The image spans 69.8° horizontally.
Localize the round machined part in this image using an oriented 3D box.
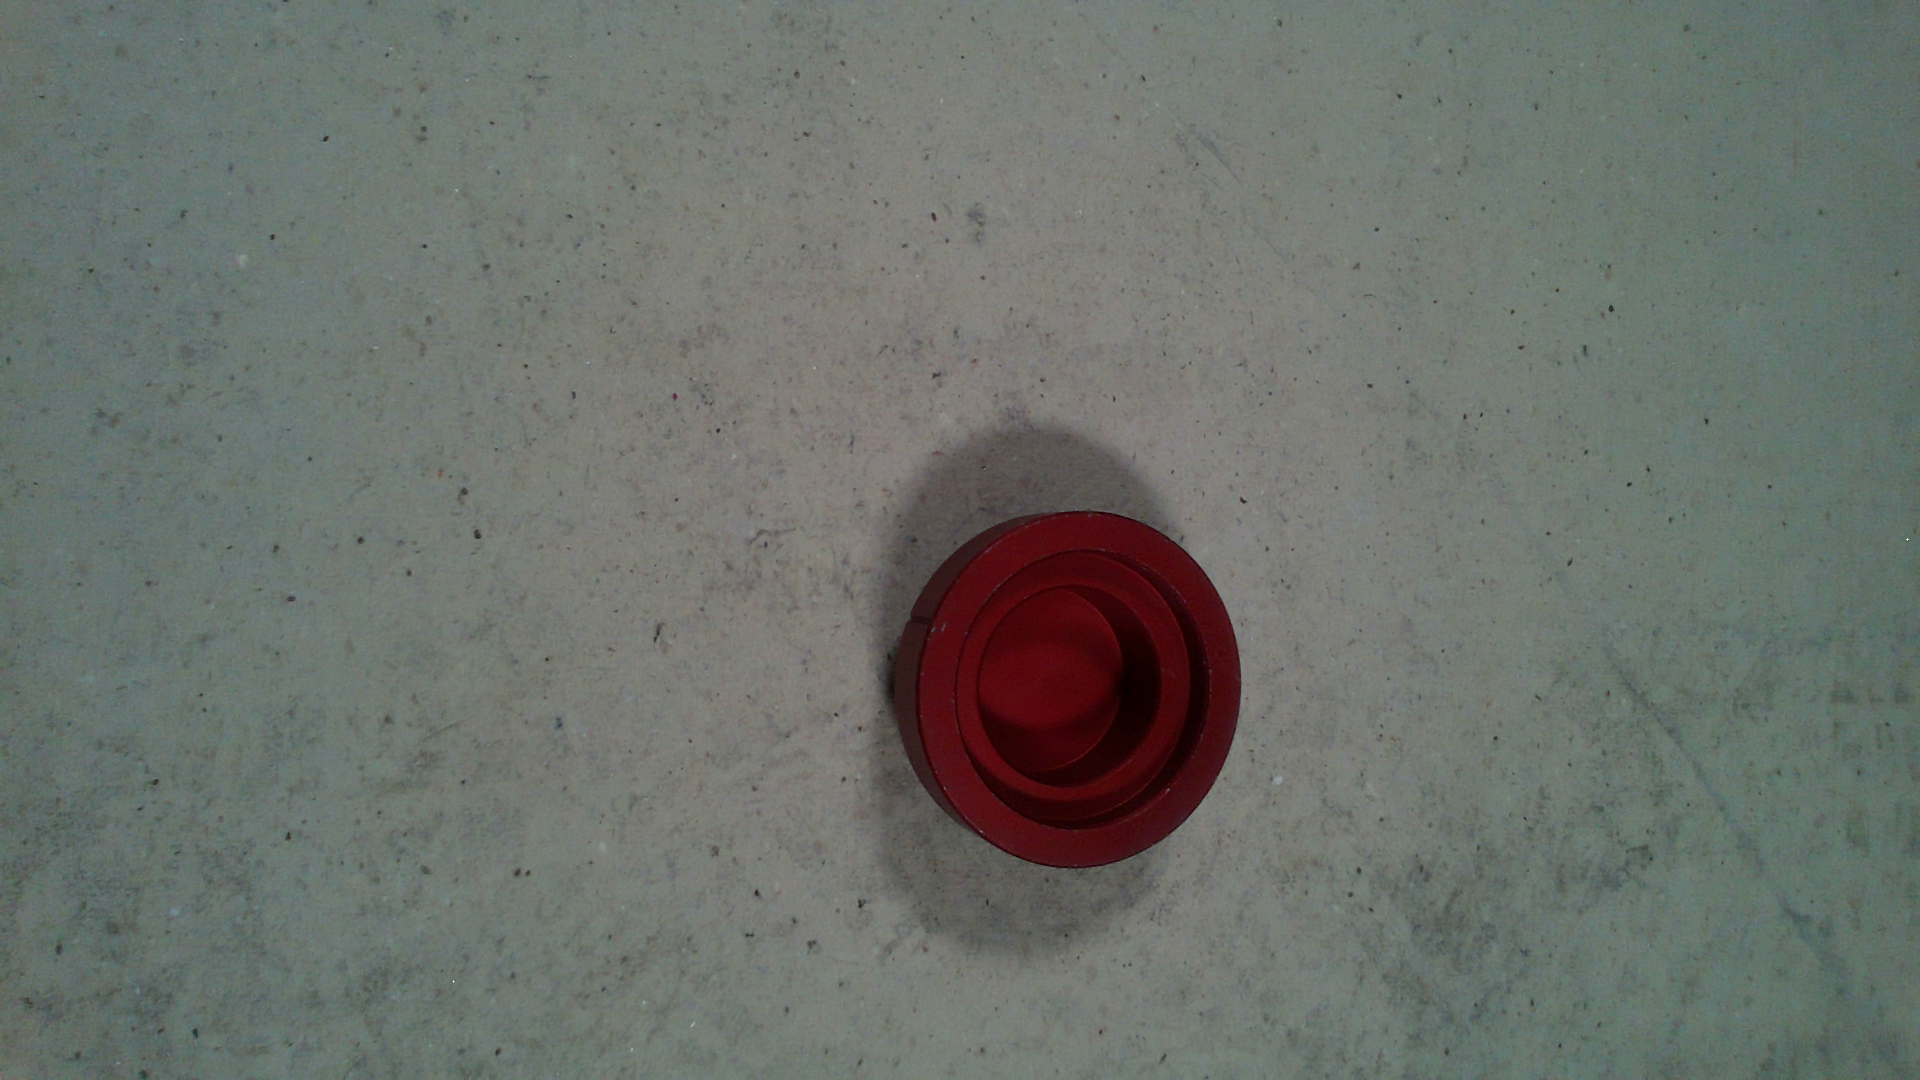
[{"bbox_3d":[0.027,0.041,0.395,0.098,0.042,0.098,0,90,-20],"label":"round machined part"}]
